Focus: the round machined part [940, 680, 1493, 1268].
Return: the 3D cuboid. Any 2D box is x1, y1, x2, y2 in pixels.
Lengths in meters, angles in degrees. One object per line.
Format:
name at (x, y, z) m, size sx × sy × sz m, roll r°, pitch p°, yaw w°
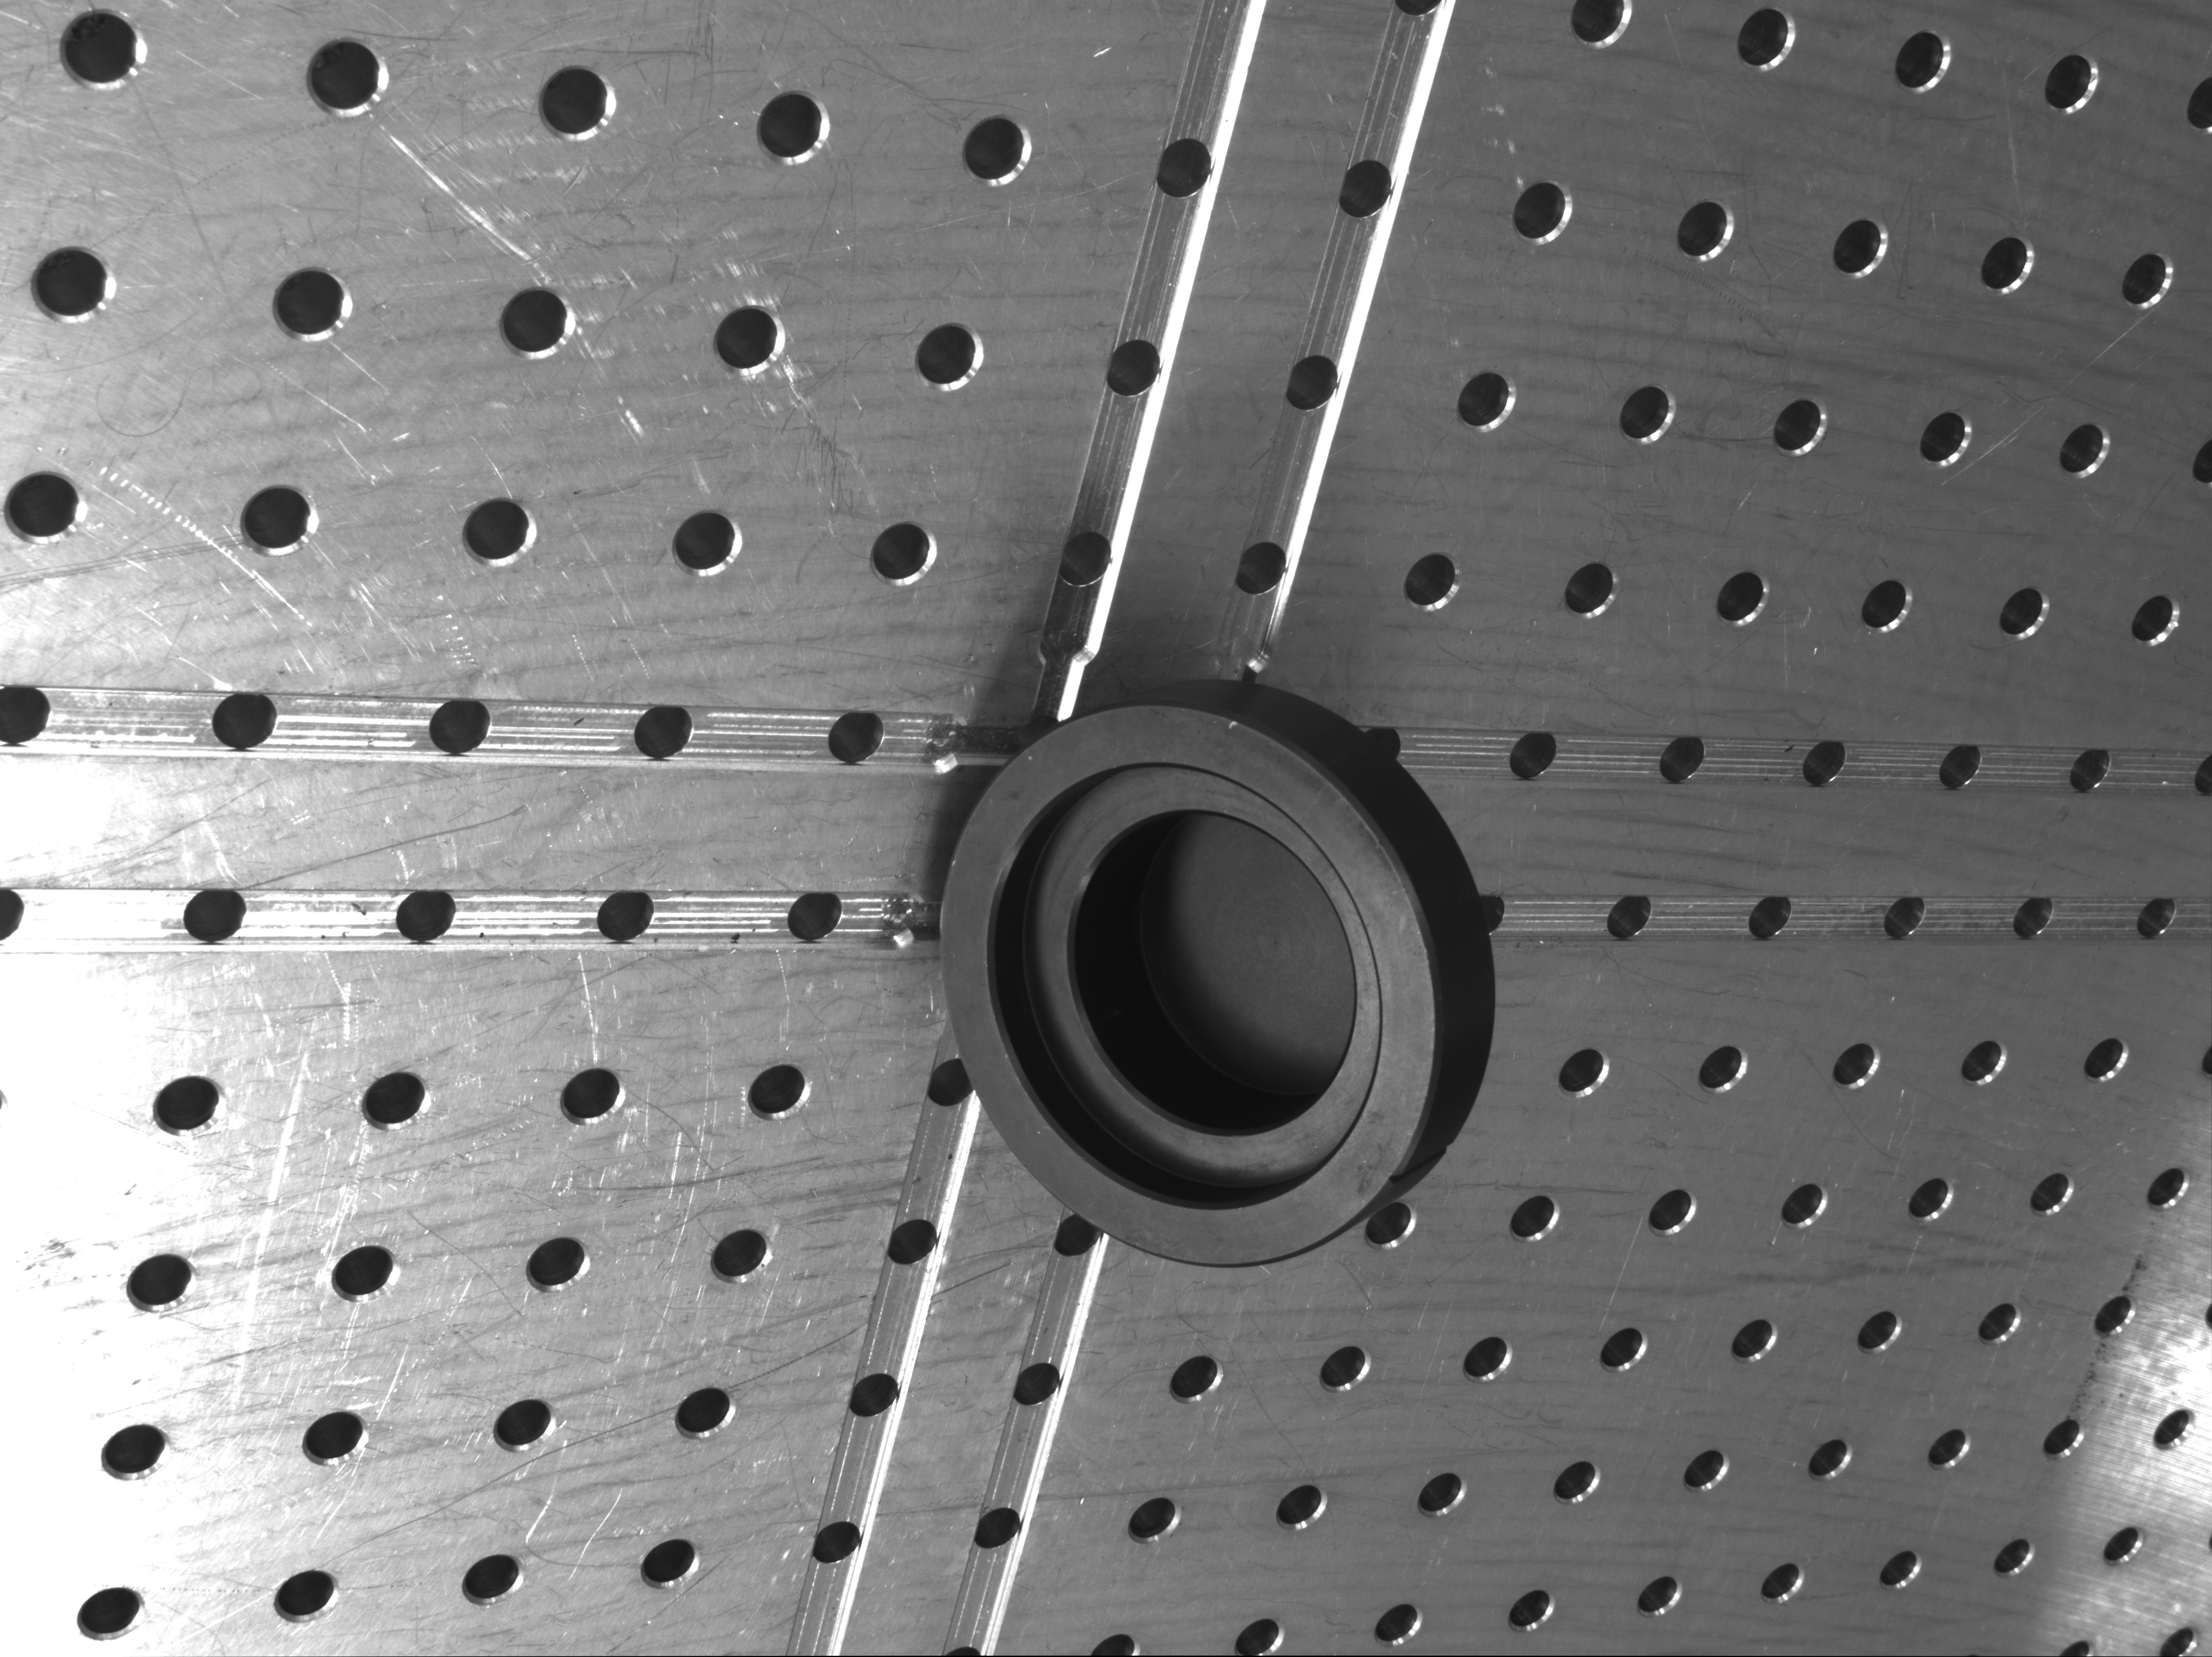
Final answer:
round machined part at (0.023, 0.023, 0.632) m, size 0.042 × 0.098 × 0.098 m, roll -21°, pitch 133°, yaw -55°
